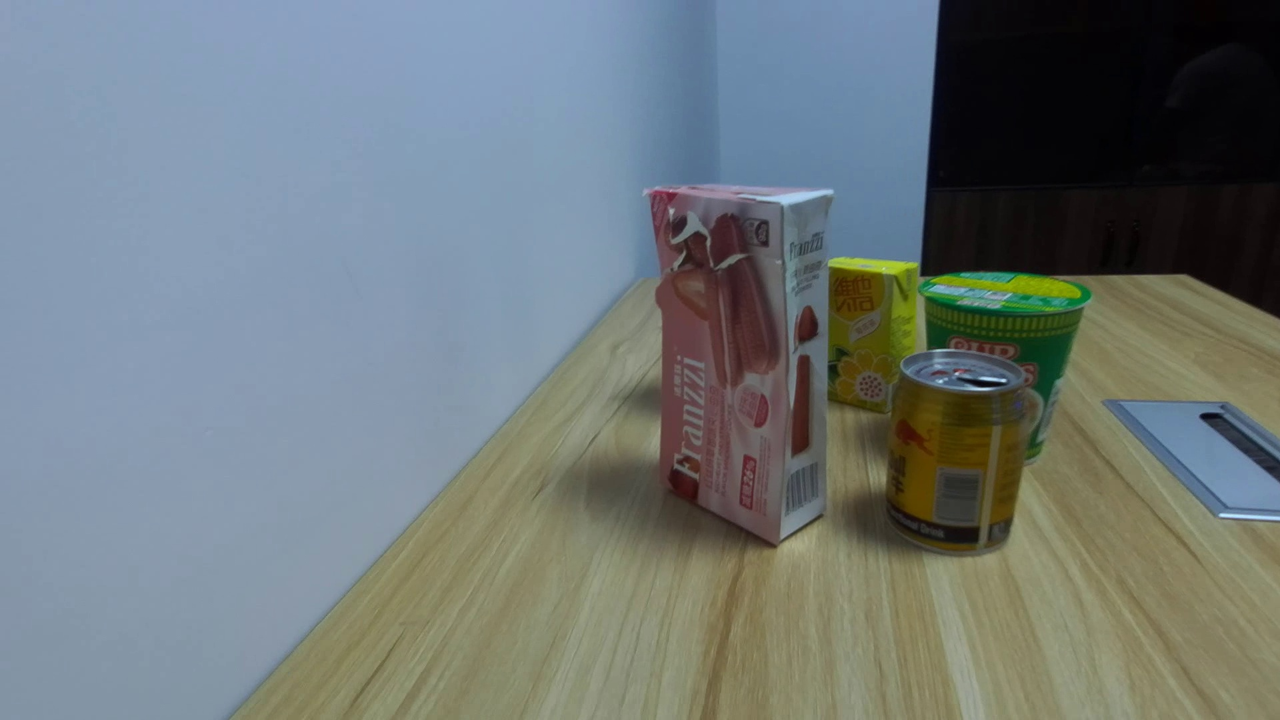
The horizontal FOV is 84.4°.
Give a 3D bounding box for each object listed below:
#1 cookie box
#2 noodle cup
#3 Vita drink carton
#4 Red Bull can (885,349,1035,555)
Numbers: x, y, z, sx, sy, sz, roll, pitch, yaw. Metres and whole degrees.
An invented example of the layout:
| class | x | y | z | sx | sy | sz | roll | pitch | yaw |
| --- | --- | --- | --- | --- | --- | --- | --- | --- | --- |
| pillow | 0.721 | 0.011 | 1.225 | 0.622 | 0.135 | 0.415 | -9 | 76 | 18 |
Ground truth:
| class | x | y | z | sx | sy | sz | roll | pitch | yaw |
| --- | --- | --- | --- | --- | --- | --- | --- | --- | --- |
| cookie box | 0.053 | 0.000 | 0.388 | 0.060 | 0.186 | 0.104 | -16 | 23 | -35 |
| noodle cup | 0.227 | 0.007 | 0.453 | 0.097 | 0.110 | 0.097 | -4 | 20 | 2 |
| Vita drink carton | 0.167 | -0.021 | 0.541 | 0.076 | 0.109 | 0.043 | 15 | 25 | 40 |
| Red Bull can | 0.166 | 0.047 | 0.375 | 0.068 | 0.093 | 0.068 | -3 | 21 | 1 |
